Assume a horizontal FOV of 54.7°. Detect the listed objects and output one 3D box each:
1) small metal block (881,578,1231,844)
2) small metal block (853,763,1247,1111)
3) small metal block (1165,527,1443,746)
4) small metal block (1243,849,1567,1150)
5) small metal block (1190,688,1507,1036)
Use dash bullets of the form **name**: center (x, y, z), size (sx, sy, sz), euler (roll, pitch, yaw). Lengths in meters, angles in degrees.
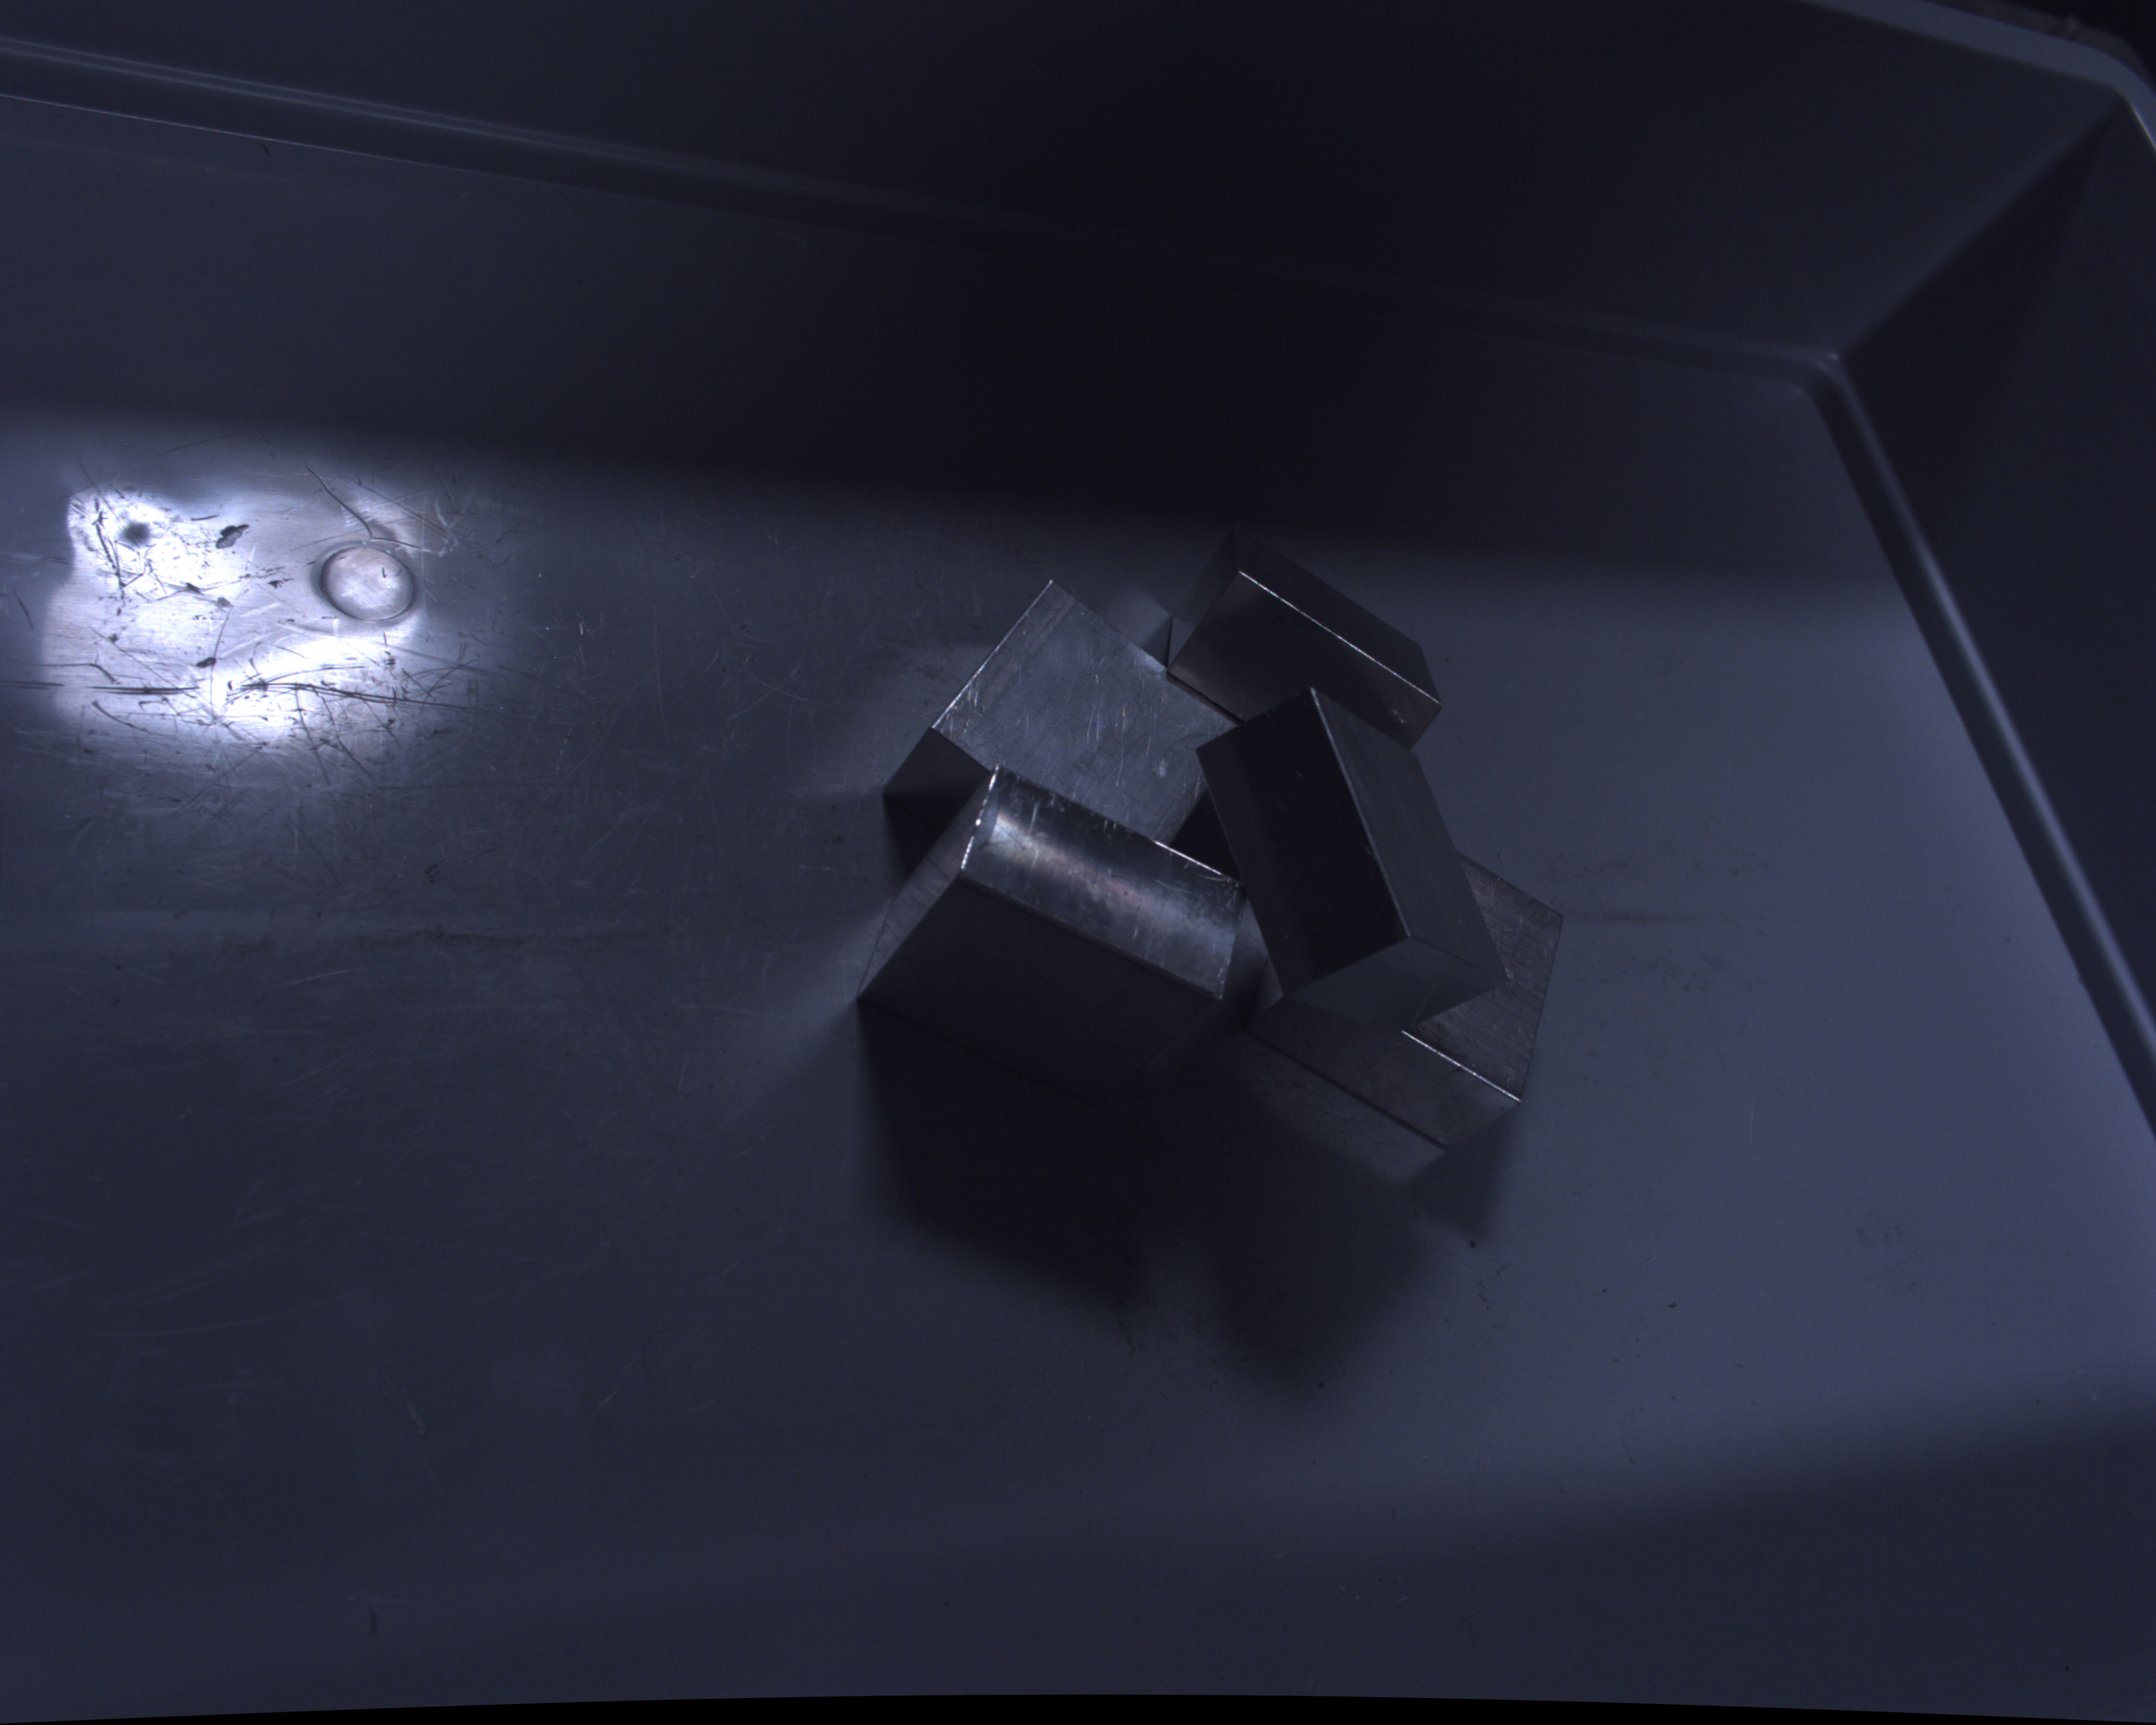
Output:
- **small metal block**: center (-0.002, -0.020, 0.415), size (0.050, 0.025, 0.050), euler (37, 51, -4)
- **small metal block**: center (-0.006, 0.015, 0.376), size (0.050, 0.050, 0.025), euler (26, 53, -13)
- **small metal block**: center (0.047, -0.043, 0.443), size (0.050, 0.025, 0.050), euler (32, 19, -8)
- **small metal block**: center (0.068, 0.022, 0.428), size (0.050, 0.025, 0.050), euler (31, 52, -9)
- **small metal block**: center (0.051, 0.001, 0.385), size (0.050, 0.025, 0.050), euler (22, 45, -57)
